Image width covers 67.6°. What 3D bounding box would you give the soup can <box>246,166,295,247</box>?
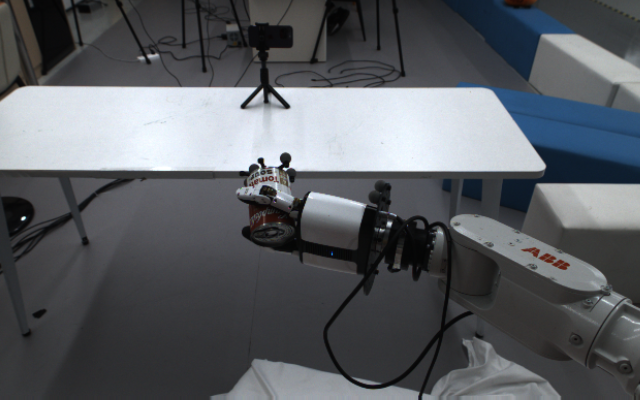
[{"bbox_3d":[-0.072,0.010,0.717,0.067,0.067,0.101,-5,57,-9],"label":"soup can"}]
